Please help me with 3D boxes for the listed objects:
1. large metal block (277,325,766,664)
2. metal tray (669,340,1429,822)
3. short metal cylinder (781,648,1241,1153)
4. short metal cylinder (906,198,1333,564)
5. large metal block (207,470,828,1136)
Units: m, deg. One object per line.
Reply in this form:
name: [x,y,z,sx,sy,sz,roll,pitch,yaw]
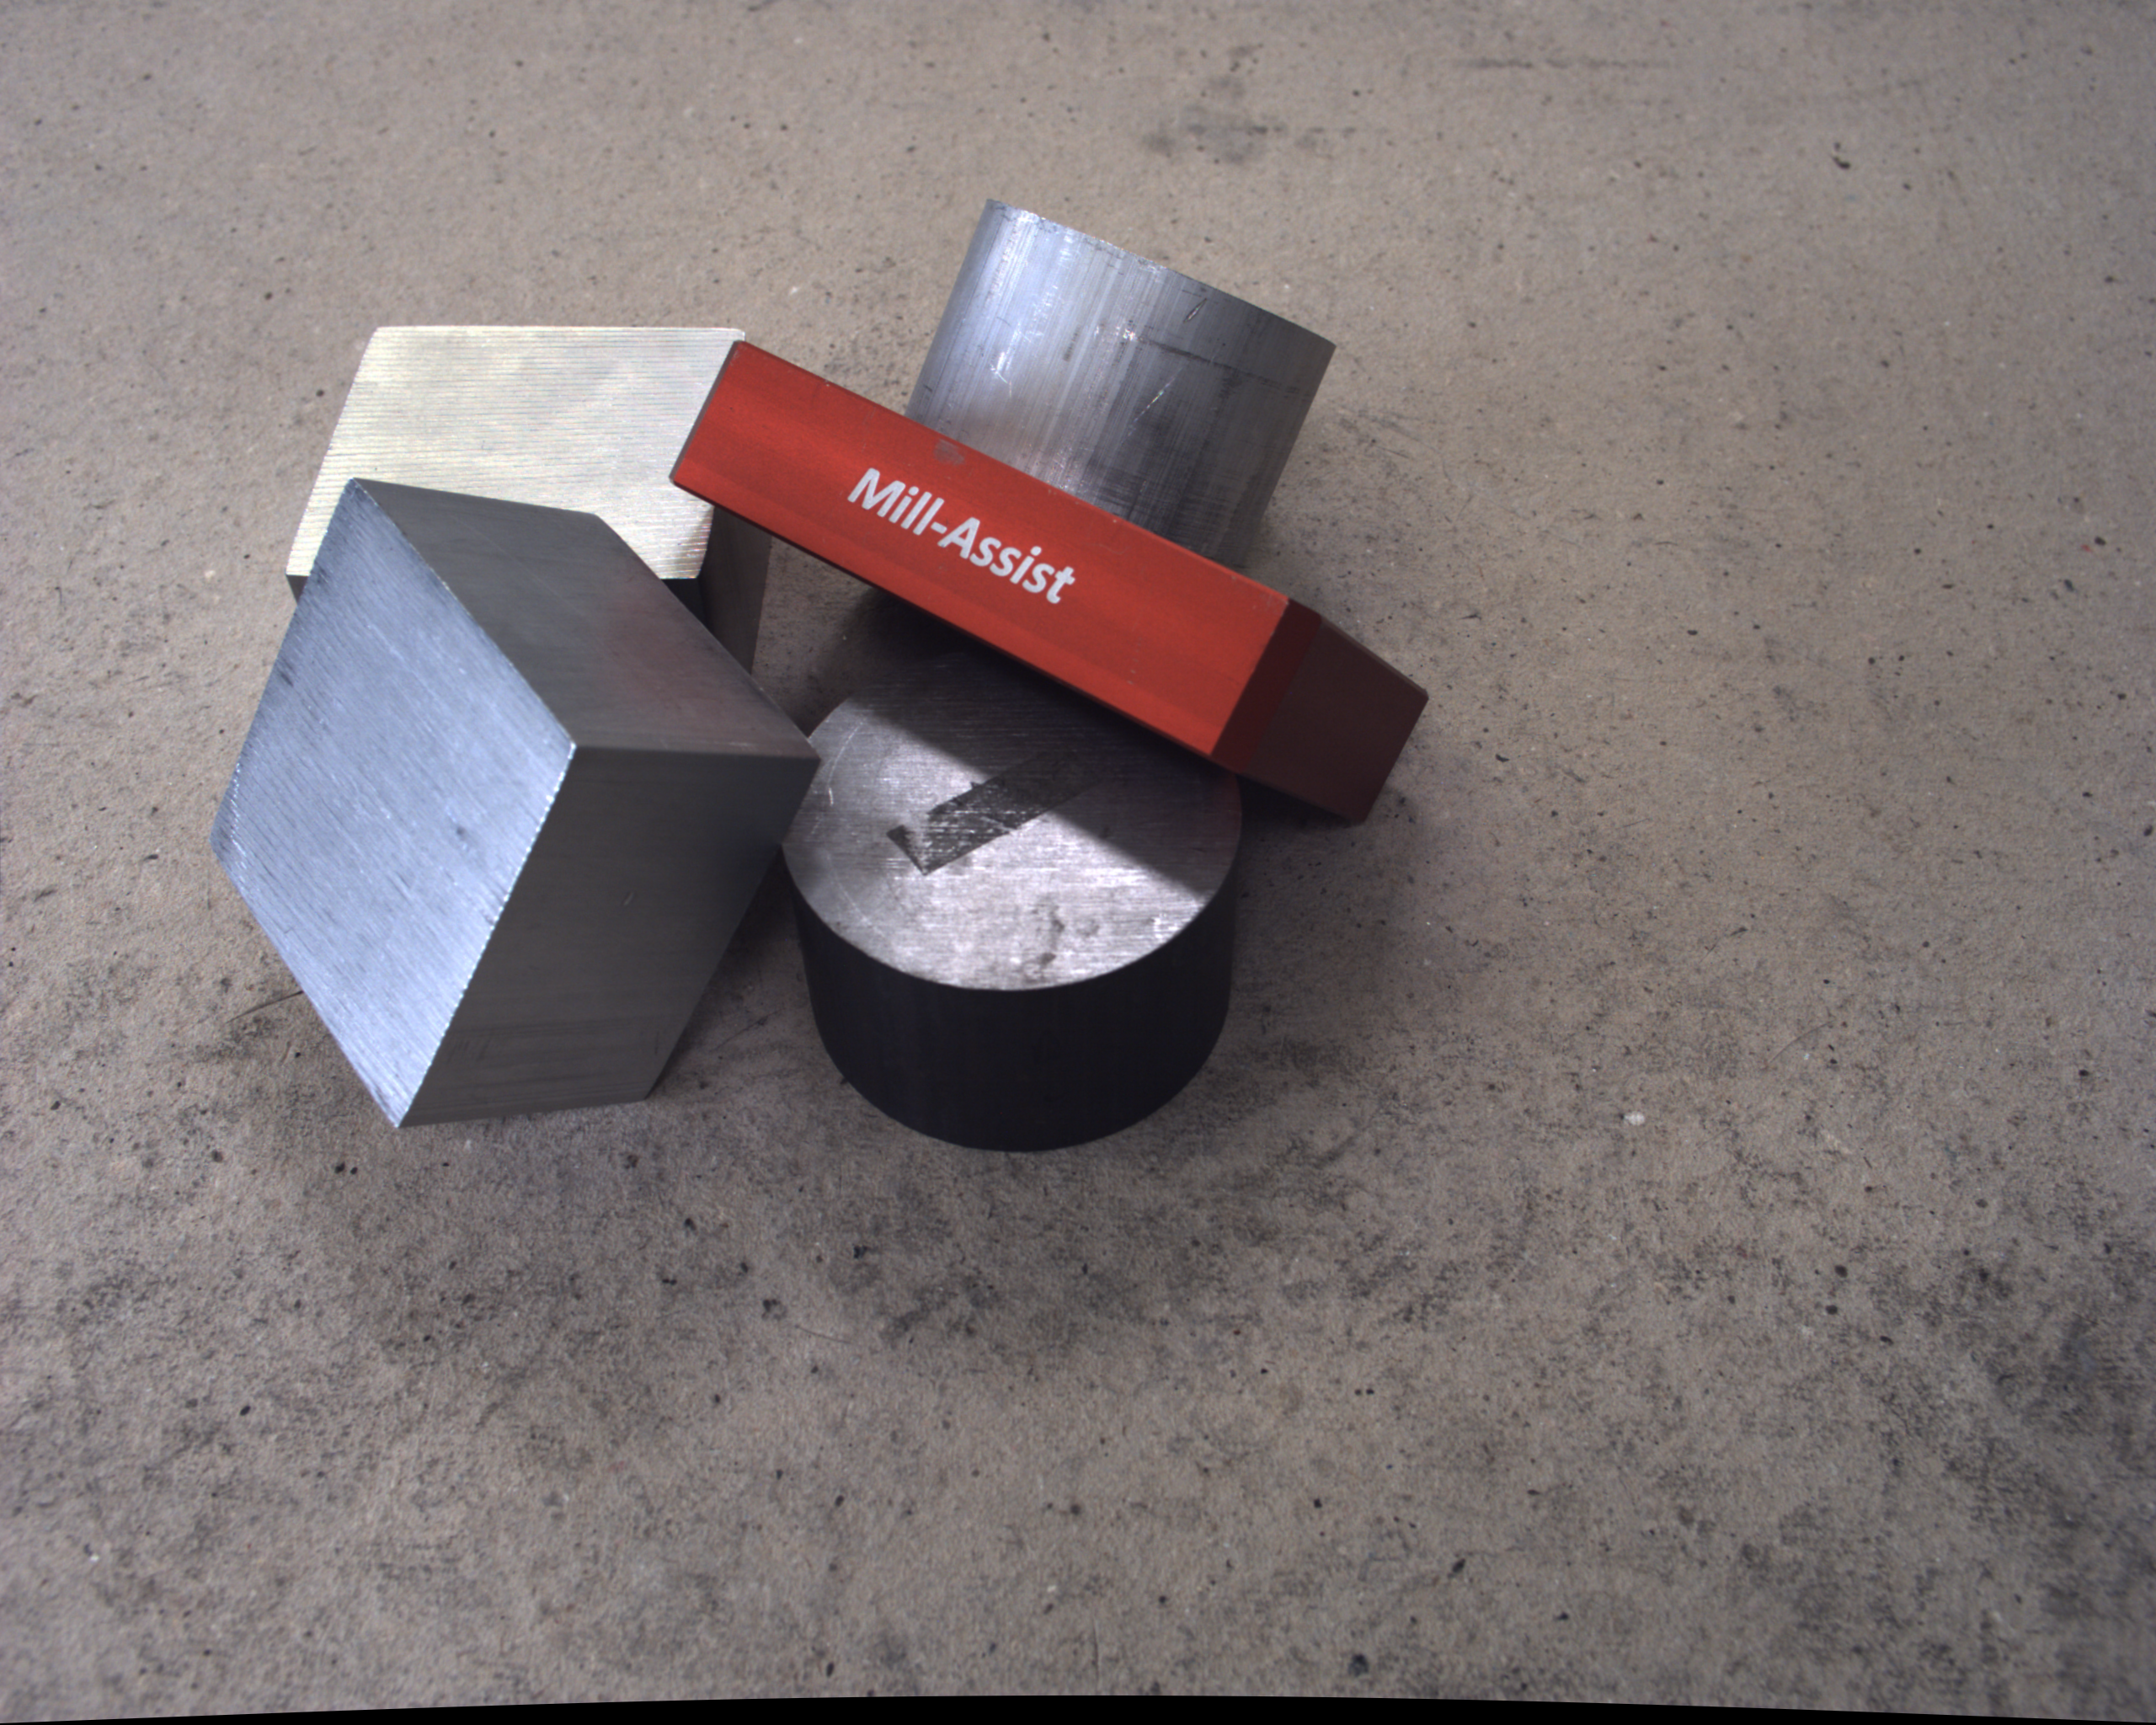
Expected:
large metal block: [-0.112,-0.069,0.443,0.080,0.050,0.080,1,50,0]
metal tray: [-0.004,-0.054,0.409,0.130,0.090,0.030,29,96,22]
short metal cylinder: [-0.012,0.006,0.384,0.081,0.050,0.080,0,50,0]
short metal cylinder: [0.008,-0.103,0.450,0.080,0.050,0.080,22,14,-5]
large metal block: [-0.102,-0.011,0.368,0.050,0.080,0.080,0,38,-50]
